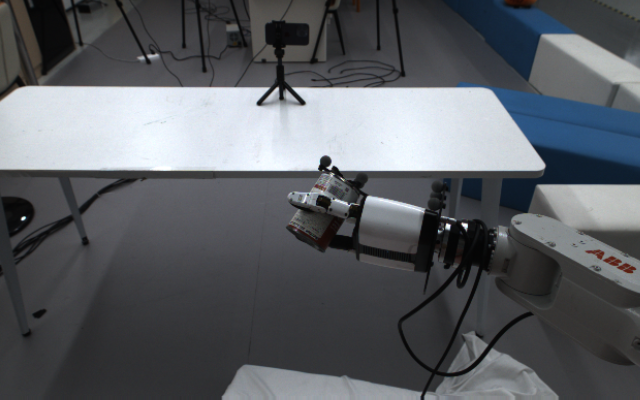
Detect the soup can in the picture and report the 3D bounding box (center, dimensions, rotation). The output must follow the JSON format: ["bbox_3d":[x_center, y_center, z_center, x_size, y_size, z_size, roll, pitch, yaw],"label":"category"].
[{"bbox_3d":[0.006,0.018,0.714,0.067,0.067,0.101,27,78,31],"label":"soup can"}]
